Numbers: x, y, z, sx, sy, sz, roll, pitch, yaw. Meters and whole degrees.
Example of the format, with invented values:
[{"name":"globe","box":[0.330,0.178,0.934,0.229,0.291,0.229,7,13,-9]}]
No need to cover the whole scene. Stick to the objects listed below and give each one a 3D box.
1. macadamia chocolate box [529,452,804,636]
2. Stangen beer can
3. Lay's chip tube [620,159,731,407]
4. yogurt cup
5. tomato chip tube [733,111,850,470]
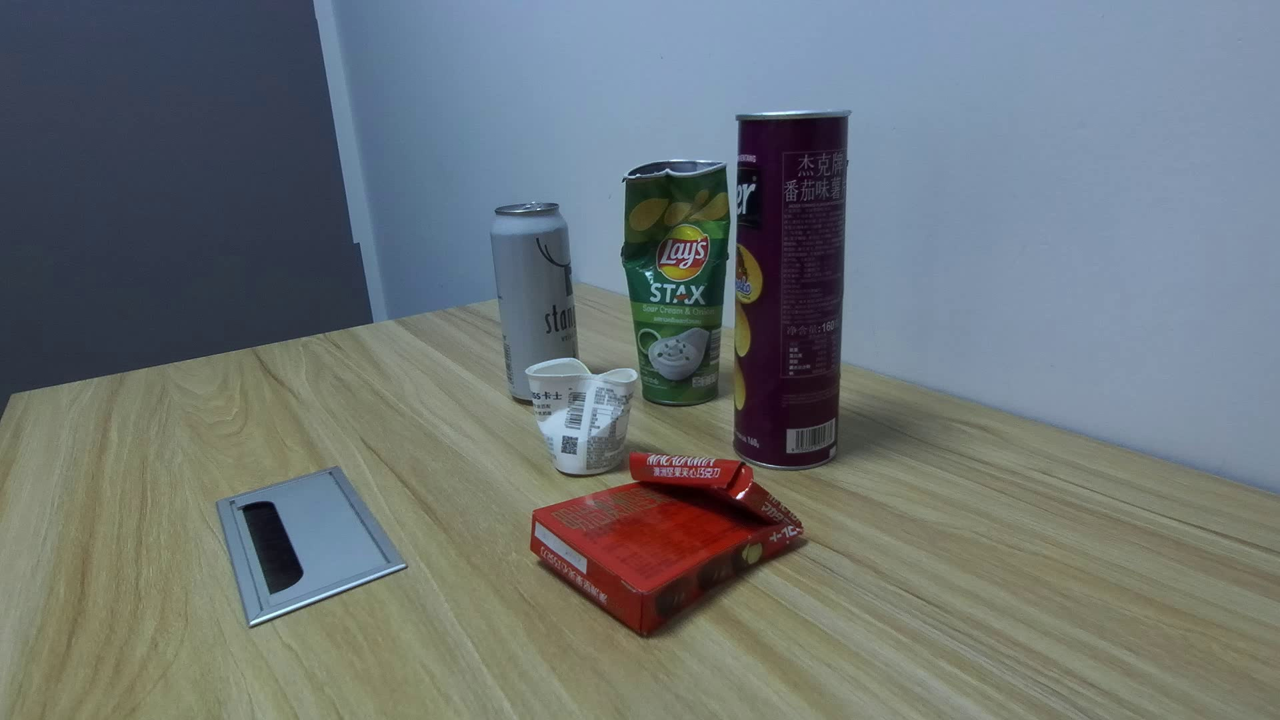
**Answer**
[{"name":"macadamia chocolate box","box":[0.010,0.093,0.406,0.127,0.056,0.111,-21,11,-37]},{"name":"Stangen beer can","box":[-0.091,-0.048,0.624,0.067,0.171,0.067,-3,15,1]},{"name":"Lay's chip tube","box":[0.032,-0.064,0.598,0.077,0.201,0.069,-10,18,-14]},{"name":"yogurt cup","box":[-0.040,0.039,0.505,0.075,0.071,0.053,-6,21,-3]},{"name":"tomato chip tube","box":[0.101,-0.046,0.482,0.076,0.234,0.080,4,20,19]}]
